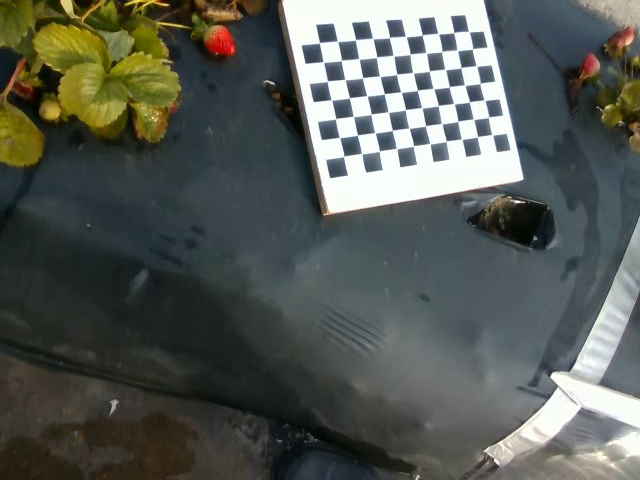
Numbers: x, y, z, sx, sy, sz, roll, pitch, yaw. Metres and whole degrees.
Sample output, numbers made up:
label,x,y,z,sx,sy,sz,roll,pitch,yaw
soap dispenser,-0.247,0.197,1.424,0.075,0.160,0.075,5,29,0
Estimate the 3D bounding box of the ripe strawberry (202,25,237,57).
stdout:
label,x,y,z,sx,sy,sz,roll,pitch,yaw
ripe strawberry,-0.113,-0.227,0.703,0.043,0.035,0.030,42,-18,-5
